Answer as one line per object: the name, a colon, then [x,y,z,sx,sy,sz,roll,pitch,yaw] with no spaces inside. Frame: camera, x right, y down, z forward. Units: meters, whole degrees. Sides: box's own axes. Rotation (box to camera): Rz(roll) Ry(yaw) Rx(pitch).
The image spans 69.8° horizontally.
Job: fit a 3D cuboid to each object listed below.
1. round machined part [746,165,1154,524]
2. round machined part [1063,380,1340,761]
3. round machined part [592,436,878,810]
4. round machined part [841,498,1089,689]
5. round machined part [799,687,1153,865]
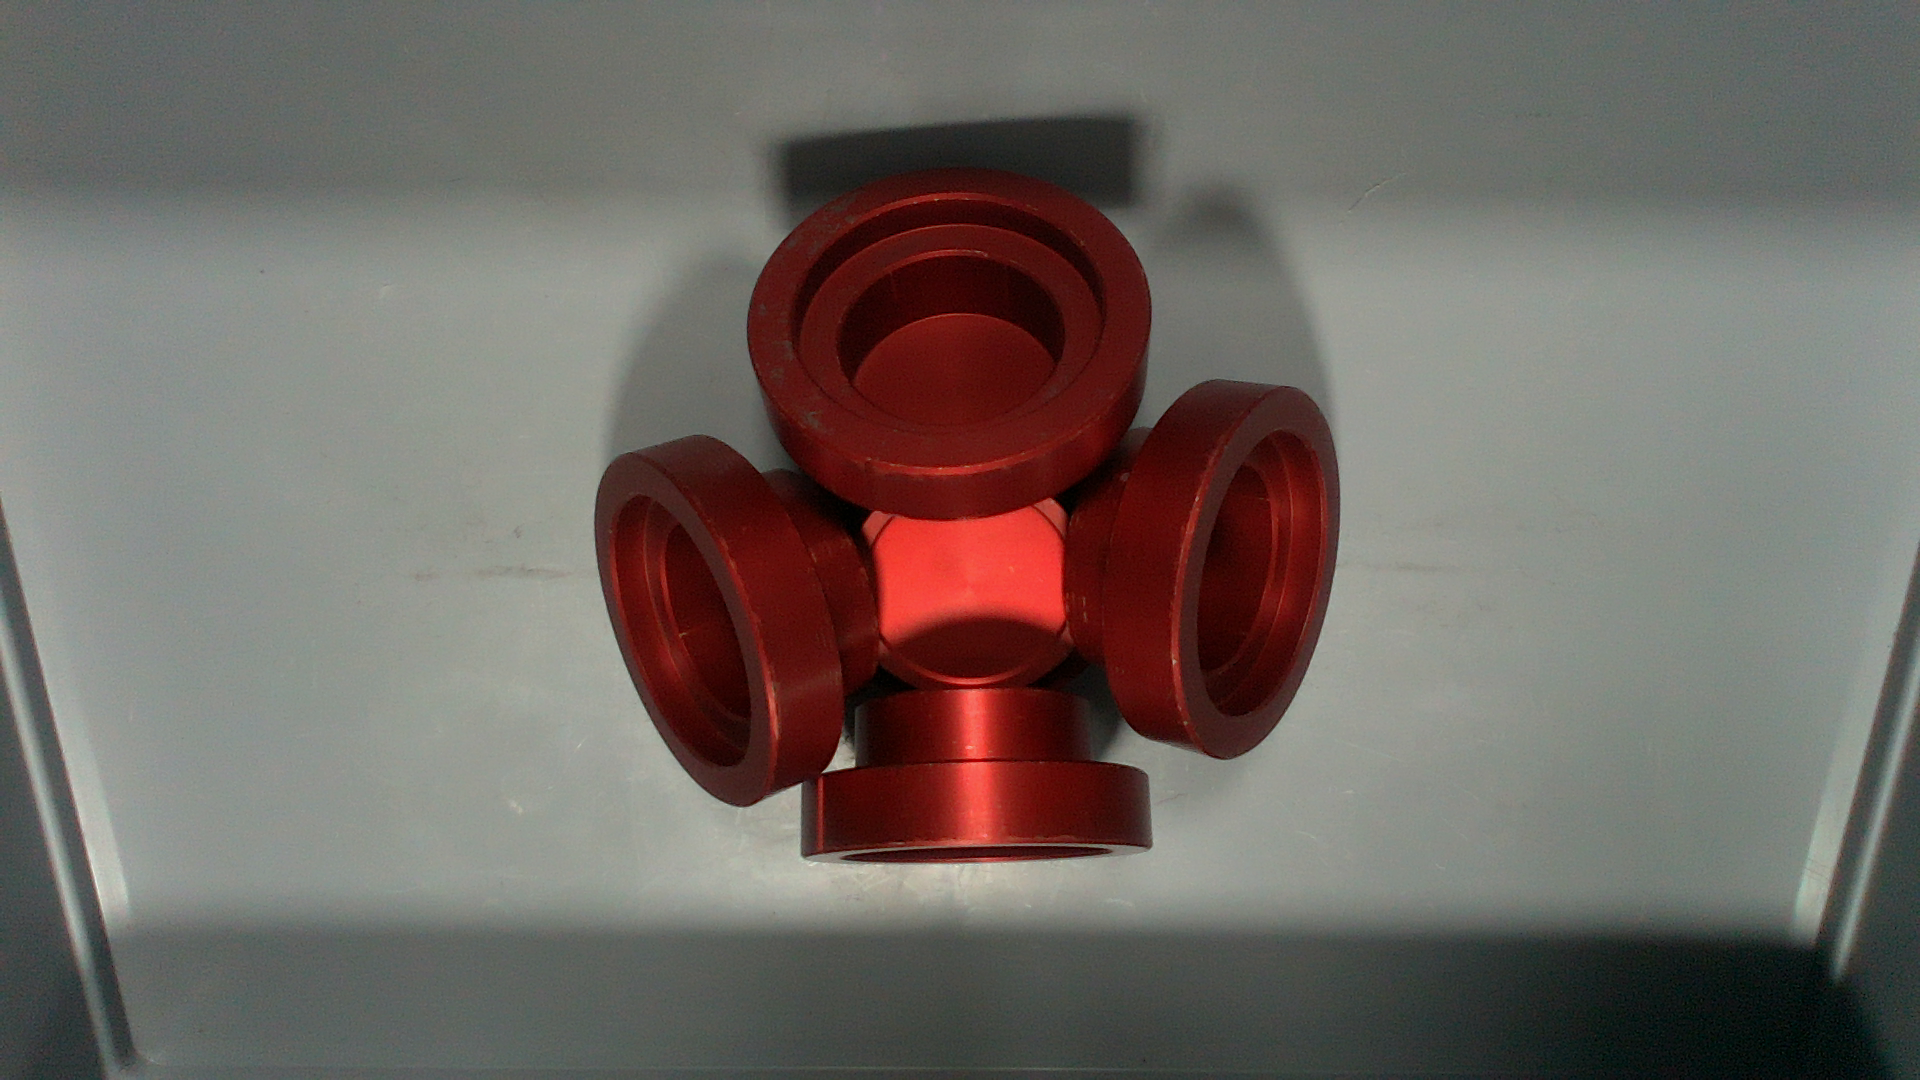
round machined part: [-0.002,-0.045,0.347,0.098,0.098,0.042,-4,148,1]
round machined part: [0.063,0.006,0.367,0.042,0.098,0.098,11,115,34]
round machined part: [-0.058,0.019,0.371,0.042,0.098,0.098,-20,114,-32]
round machined part: [0.002,0.005,0.385,0.098,0.042,0.098,0,110,0]
round machined part: [0.004,0.068,0.388,0.098,0.098,0.042,-1,74,0]
